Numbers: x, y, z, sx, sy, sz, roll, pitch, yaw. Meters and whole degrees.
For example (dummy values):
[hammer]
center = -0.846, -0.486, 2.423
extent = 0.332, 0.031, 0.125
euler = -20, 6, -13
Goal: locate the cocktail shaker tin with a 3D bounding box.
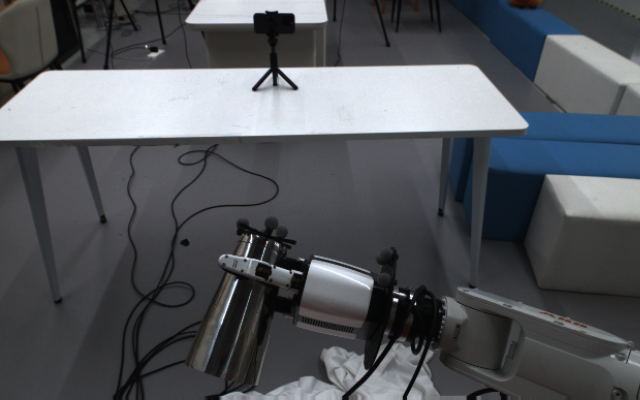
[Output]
[cocktail shaker tin]
center = -0.096, 0.132, 0.614
extent = 0.093, 0.093, 0.170
euler = 12, 73, 14
